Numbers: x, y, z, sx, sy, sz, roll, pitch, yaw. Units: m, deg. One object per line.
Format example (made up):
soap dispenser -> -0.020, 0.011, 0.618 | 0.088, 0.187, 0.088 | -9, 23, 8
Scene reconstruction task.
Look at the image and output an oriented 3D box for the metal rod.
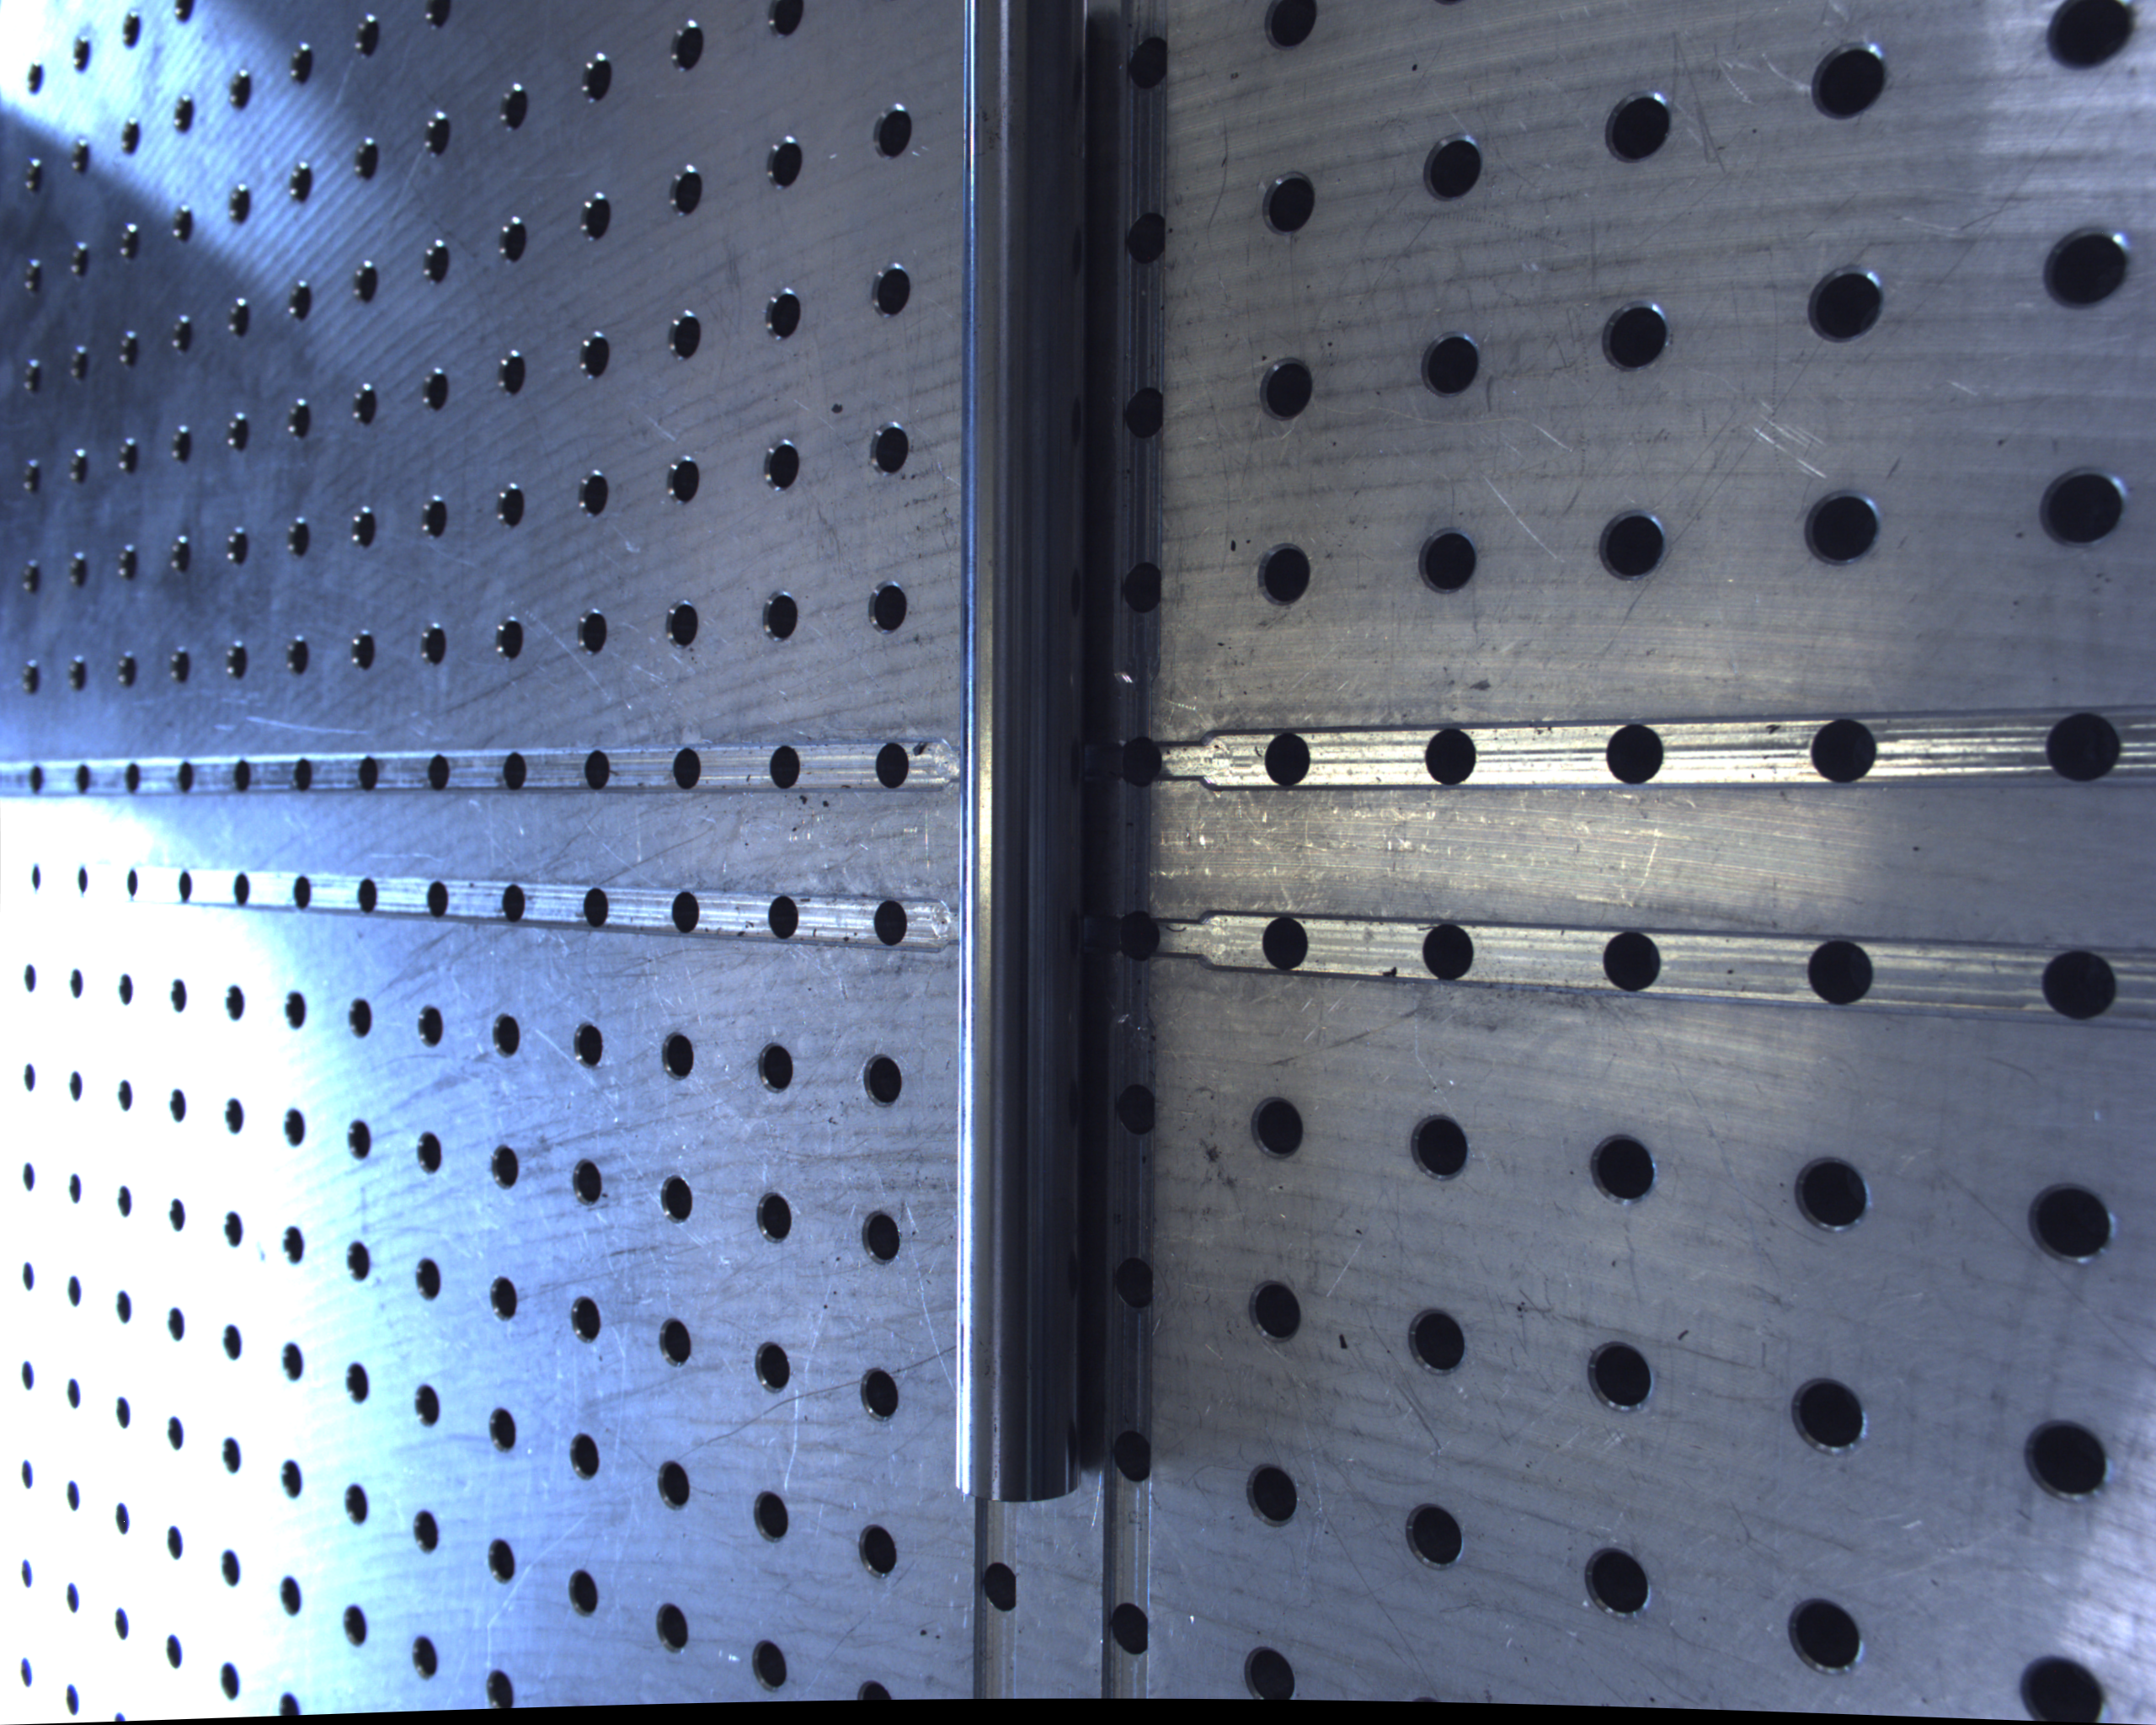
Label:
metal rod -> -0.011, -0.024, 0.420 | 0.025, 0.025, 0.298 | 1, 91, 40
